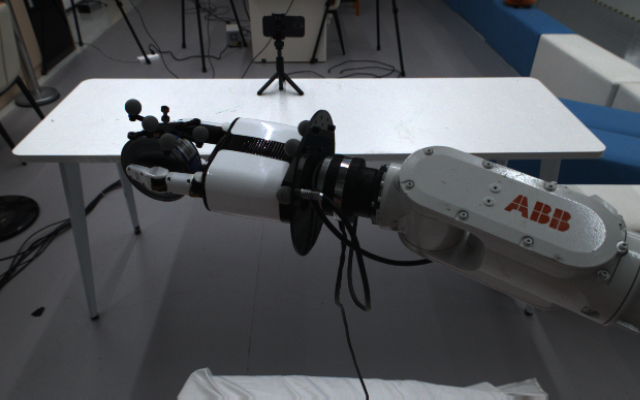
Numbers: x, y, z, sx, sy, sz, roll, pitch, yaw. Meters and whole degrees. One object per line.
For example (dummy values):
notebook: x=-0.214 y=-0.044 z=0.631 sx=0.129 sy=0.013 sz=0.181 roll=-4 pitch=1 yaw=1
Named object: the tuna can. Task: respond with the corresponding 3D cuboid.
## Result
tuna can: x=-0.182 y=-0.042 z=0.562 sx=0.085 sy=0.085 sz=0.034 roll=9 pitch=35 yaw=10
